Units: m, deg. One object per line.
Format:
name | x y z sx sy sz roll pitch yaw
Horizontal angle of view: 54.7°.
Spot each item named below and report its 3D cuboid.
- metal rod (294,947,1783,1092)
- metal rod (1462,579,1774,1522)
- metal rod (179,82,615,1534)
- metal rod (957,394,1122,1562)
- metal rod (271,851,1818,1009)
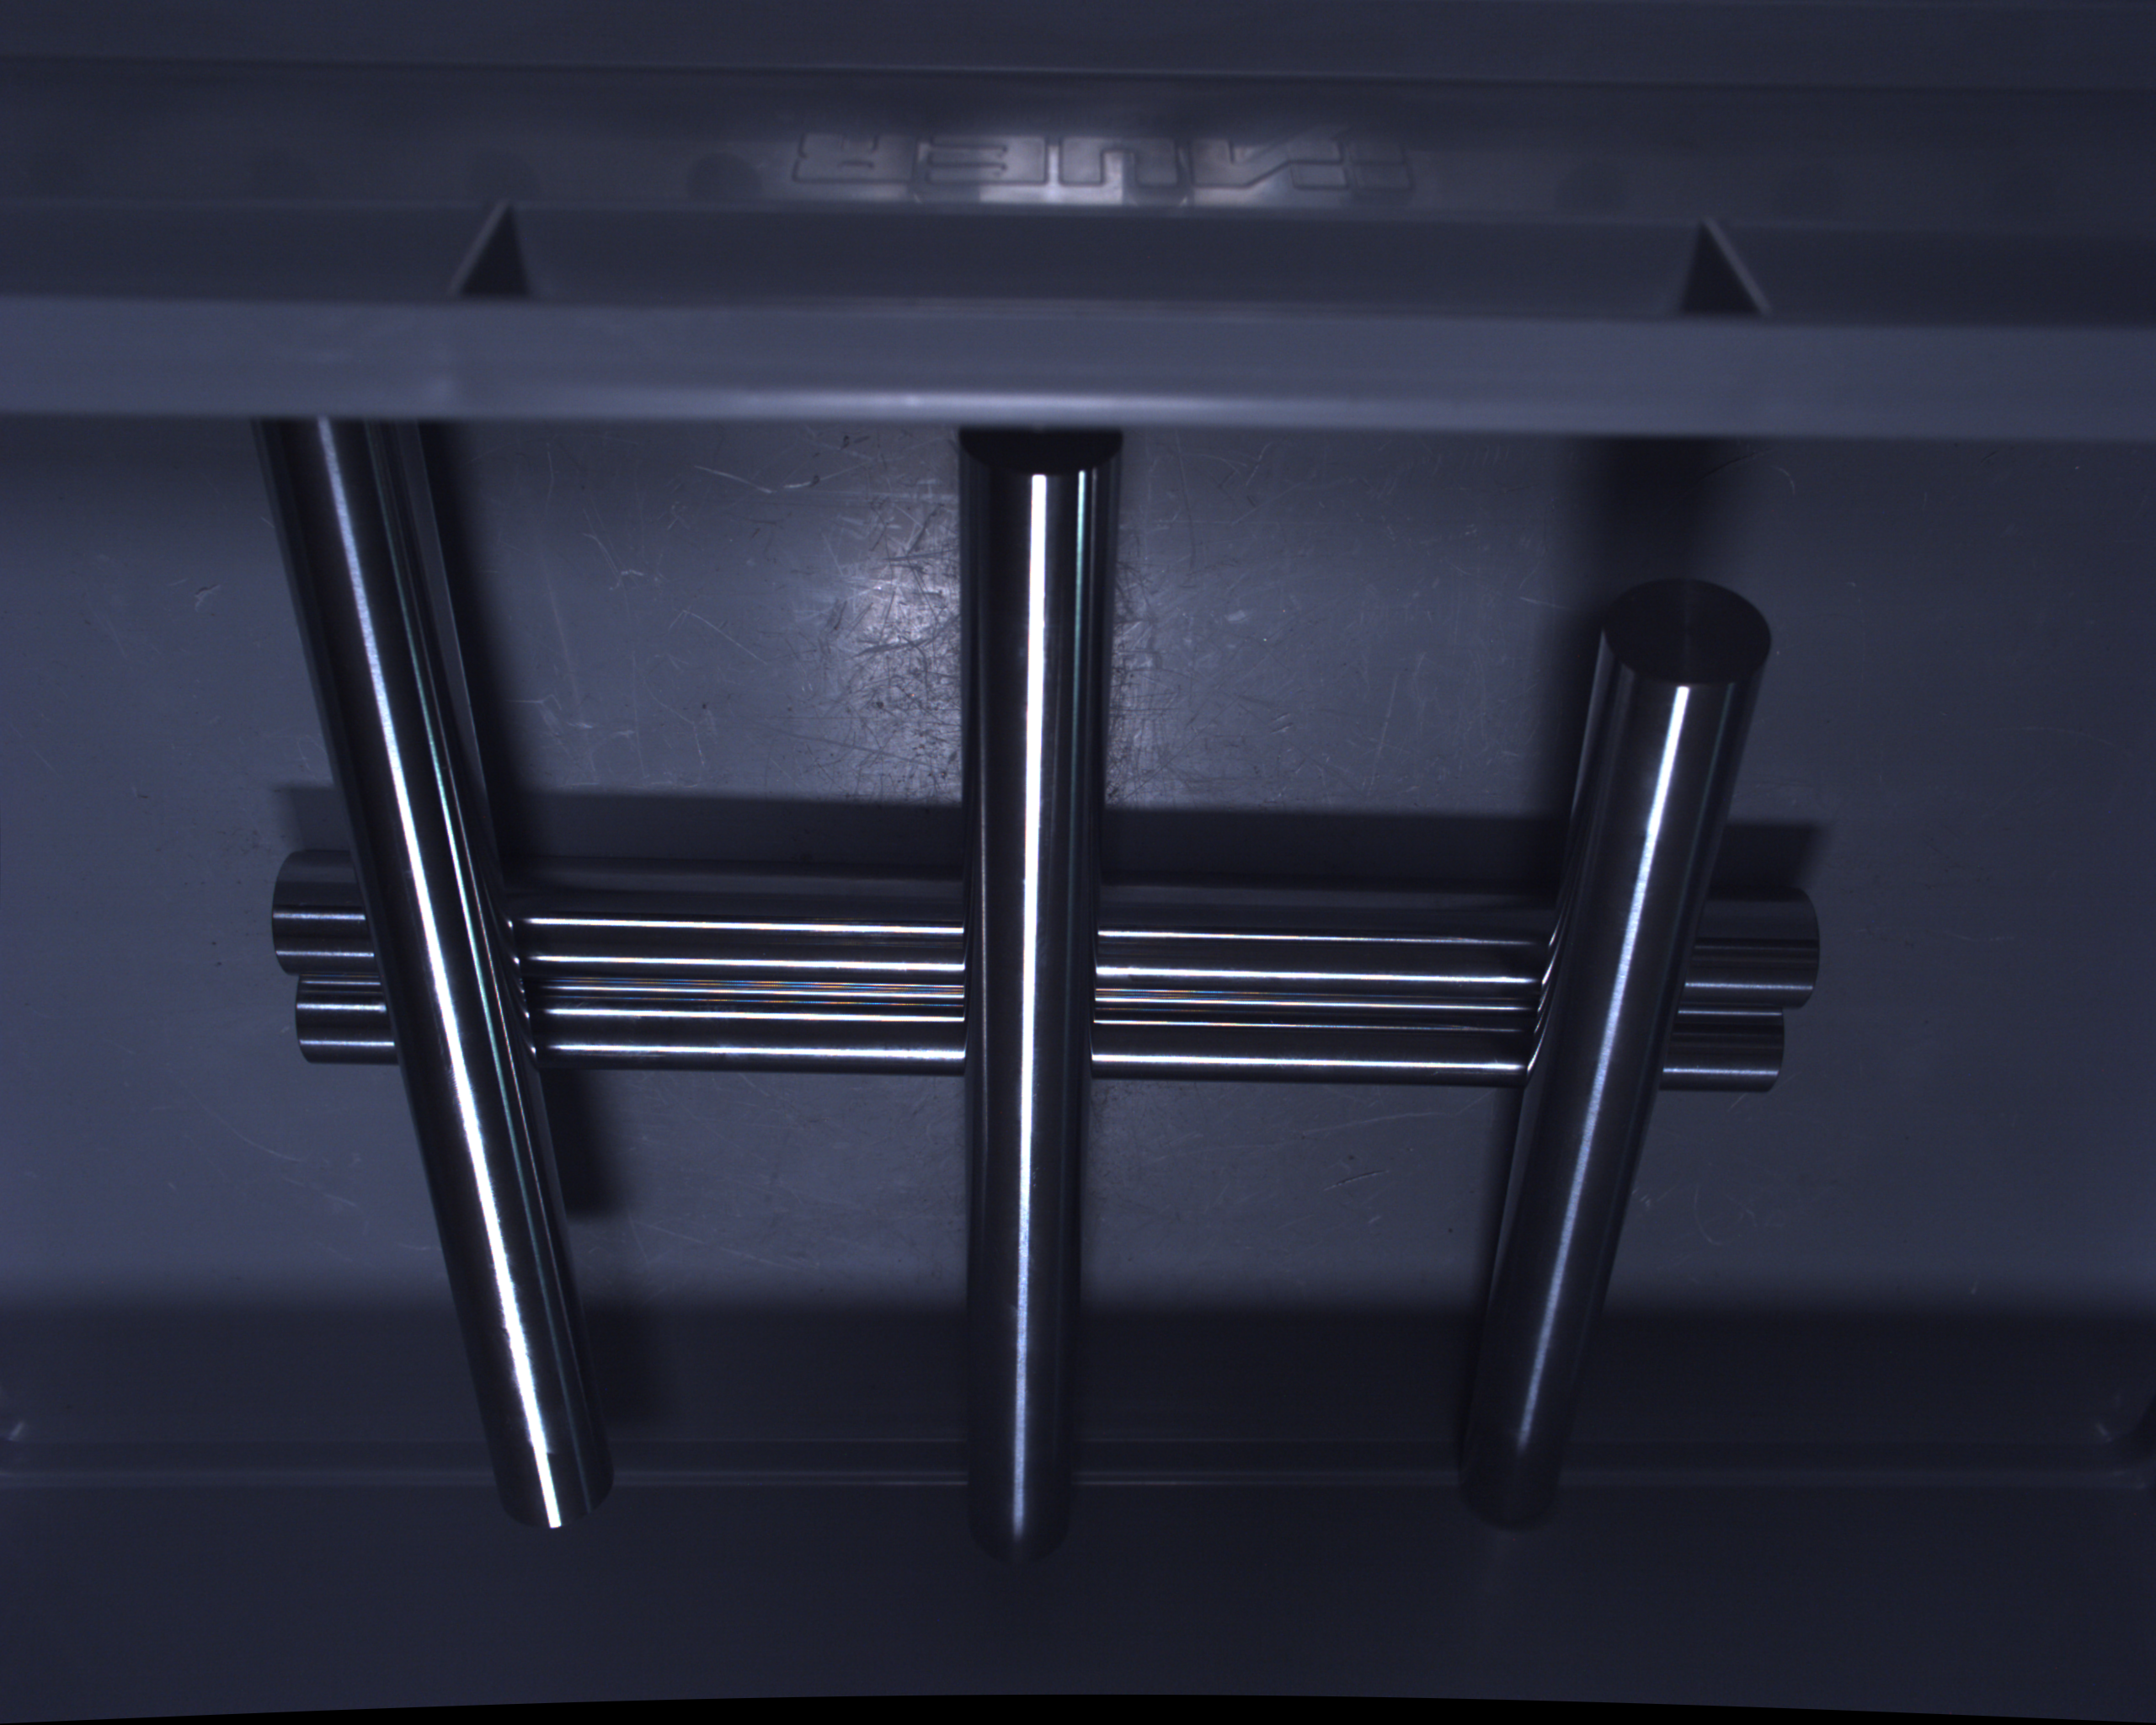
metal rod | -0.006 0.032 0.435 0.302 0.025 0.025 1 130 -2
metal rod | 0.104 0.063 0.433 0.025 0.025 0.298 -3 139 2
metal rod | -0.117 0.014 0.386 0.025 0.025 0.298 -1 122 0
metal rod | -0.010 0.047 0.415 0.025 0.025 0.298 1 131 -1
metal rod | -0.005 0.014 0.420 0.302 0.025 0.025 1 130 -2
